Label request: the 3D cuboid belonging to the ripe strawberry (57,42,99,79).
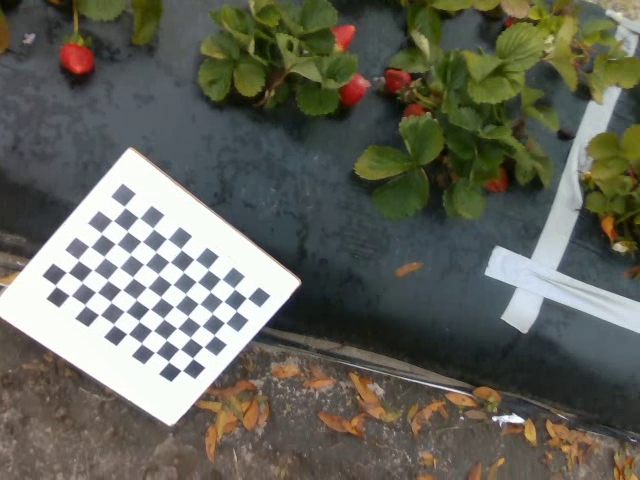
[{"bbox_3d":[-0.325,-0.240,0.701,0.045,0.054,0.048,-11,-31,-3],"label":"ripe strawberry"}]
